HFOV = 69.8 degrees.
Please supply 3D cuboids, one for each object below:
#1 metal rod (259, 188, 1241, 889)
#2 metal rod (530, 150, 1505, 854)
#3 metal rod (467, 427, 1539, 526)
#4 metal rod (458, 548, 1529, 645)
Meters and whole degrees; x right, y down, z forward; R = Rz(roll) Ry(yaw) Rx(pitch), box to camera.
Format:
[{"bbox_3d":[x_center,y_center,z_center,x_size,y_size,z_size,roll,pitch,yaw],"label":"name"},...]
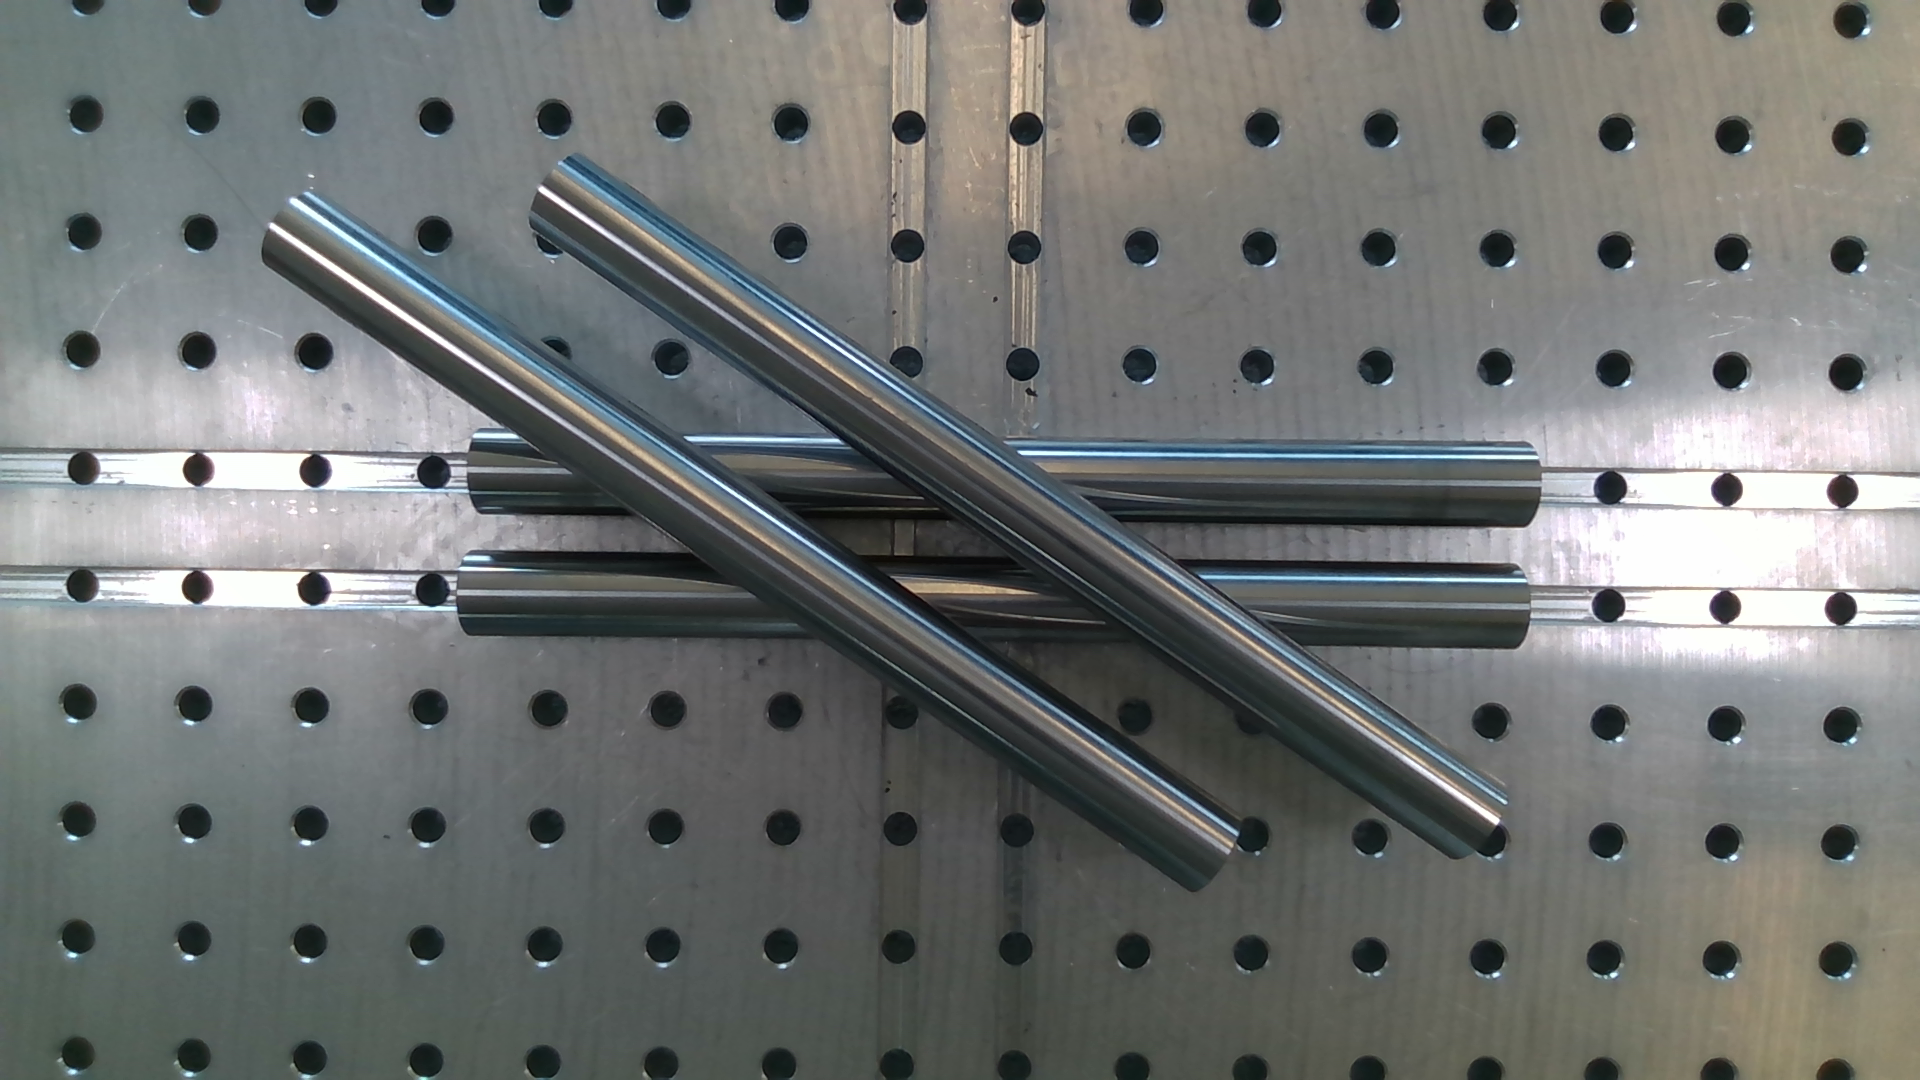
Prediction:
[{"bbox_3d":[-0.056,0.000,0.372,0.300,0.025,0.025,34,90,0],"label":"metal rod"},{"bbox_3d":[0.015,-0.010,0.373,0.300,0.025,0.025,34,90,0],"label":"metal rod"},{"bbox_3d":[0.012,-0.018,0.398,0.300,0.025,0.025,1,90,0],"label":"metal rod"},{"bbox_3d":[0.009,0.016,0.398,0.300,0.025,0.025,1,90,0],"label":"metal rod"}]
